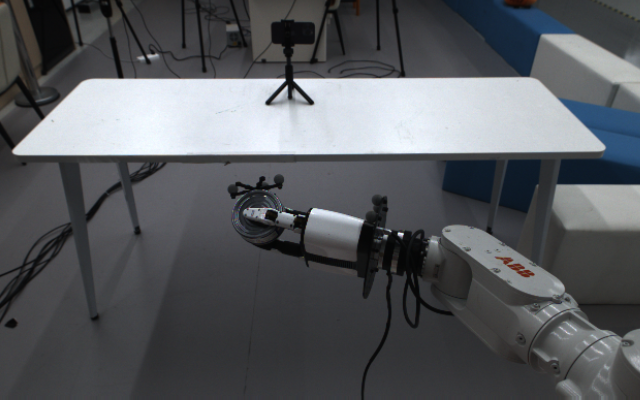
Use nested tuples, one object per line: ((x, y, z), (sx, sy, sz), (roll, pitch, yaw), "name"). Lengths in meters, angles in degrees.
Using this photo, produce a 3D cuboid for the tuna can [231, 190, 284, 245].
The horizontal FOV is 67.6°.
((-0.095, 0.033, 0.776), (0.085, 0.034, 0.085), (-4, 68, 9), "tuna can")
